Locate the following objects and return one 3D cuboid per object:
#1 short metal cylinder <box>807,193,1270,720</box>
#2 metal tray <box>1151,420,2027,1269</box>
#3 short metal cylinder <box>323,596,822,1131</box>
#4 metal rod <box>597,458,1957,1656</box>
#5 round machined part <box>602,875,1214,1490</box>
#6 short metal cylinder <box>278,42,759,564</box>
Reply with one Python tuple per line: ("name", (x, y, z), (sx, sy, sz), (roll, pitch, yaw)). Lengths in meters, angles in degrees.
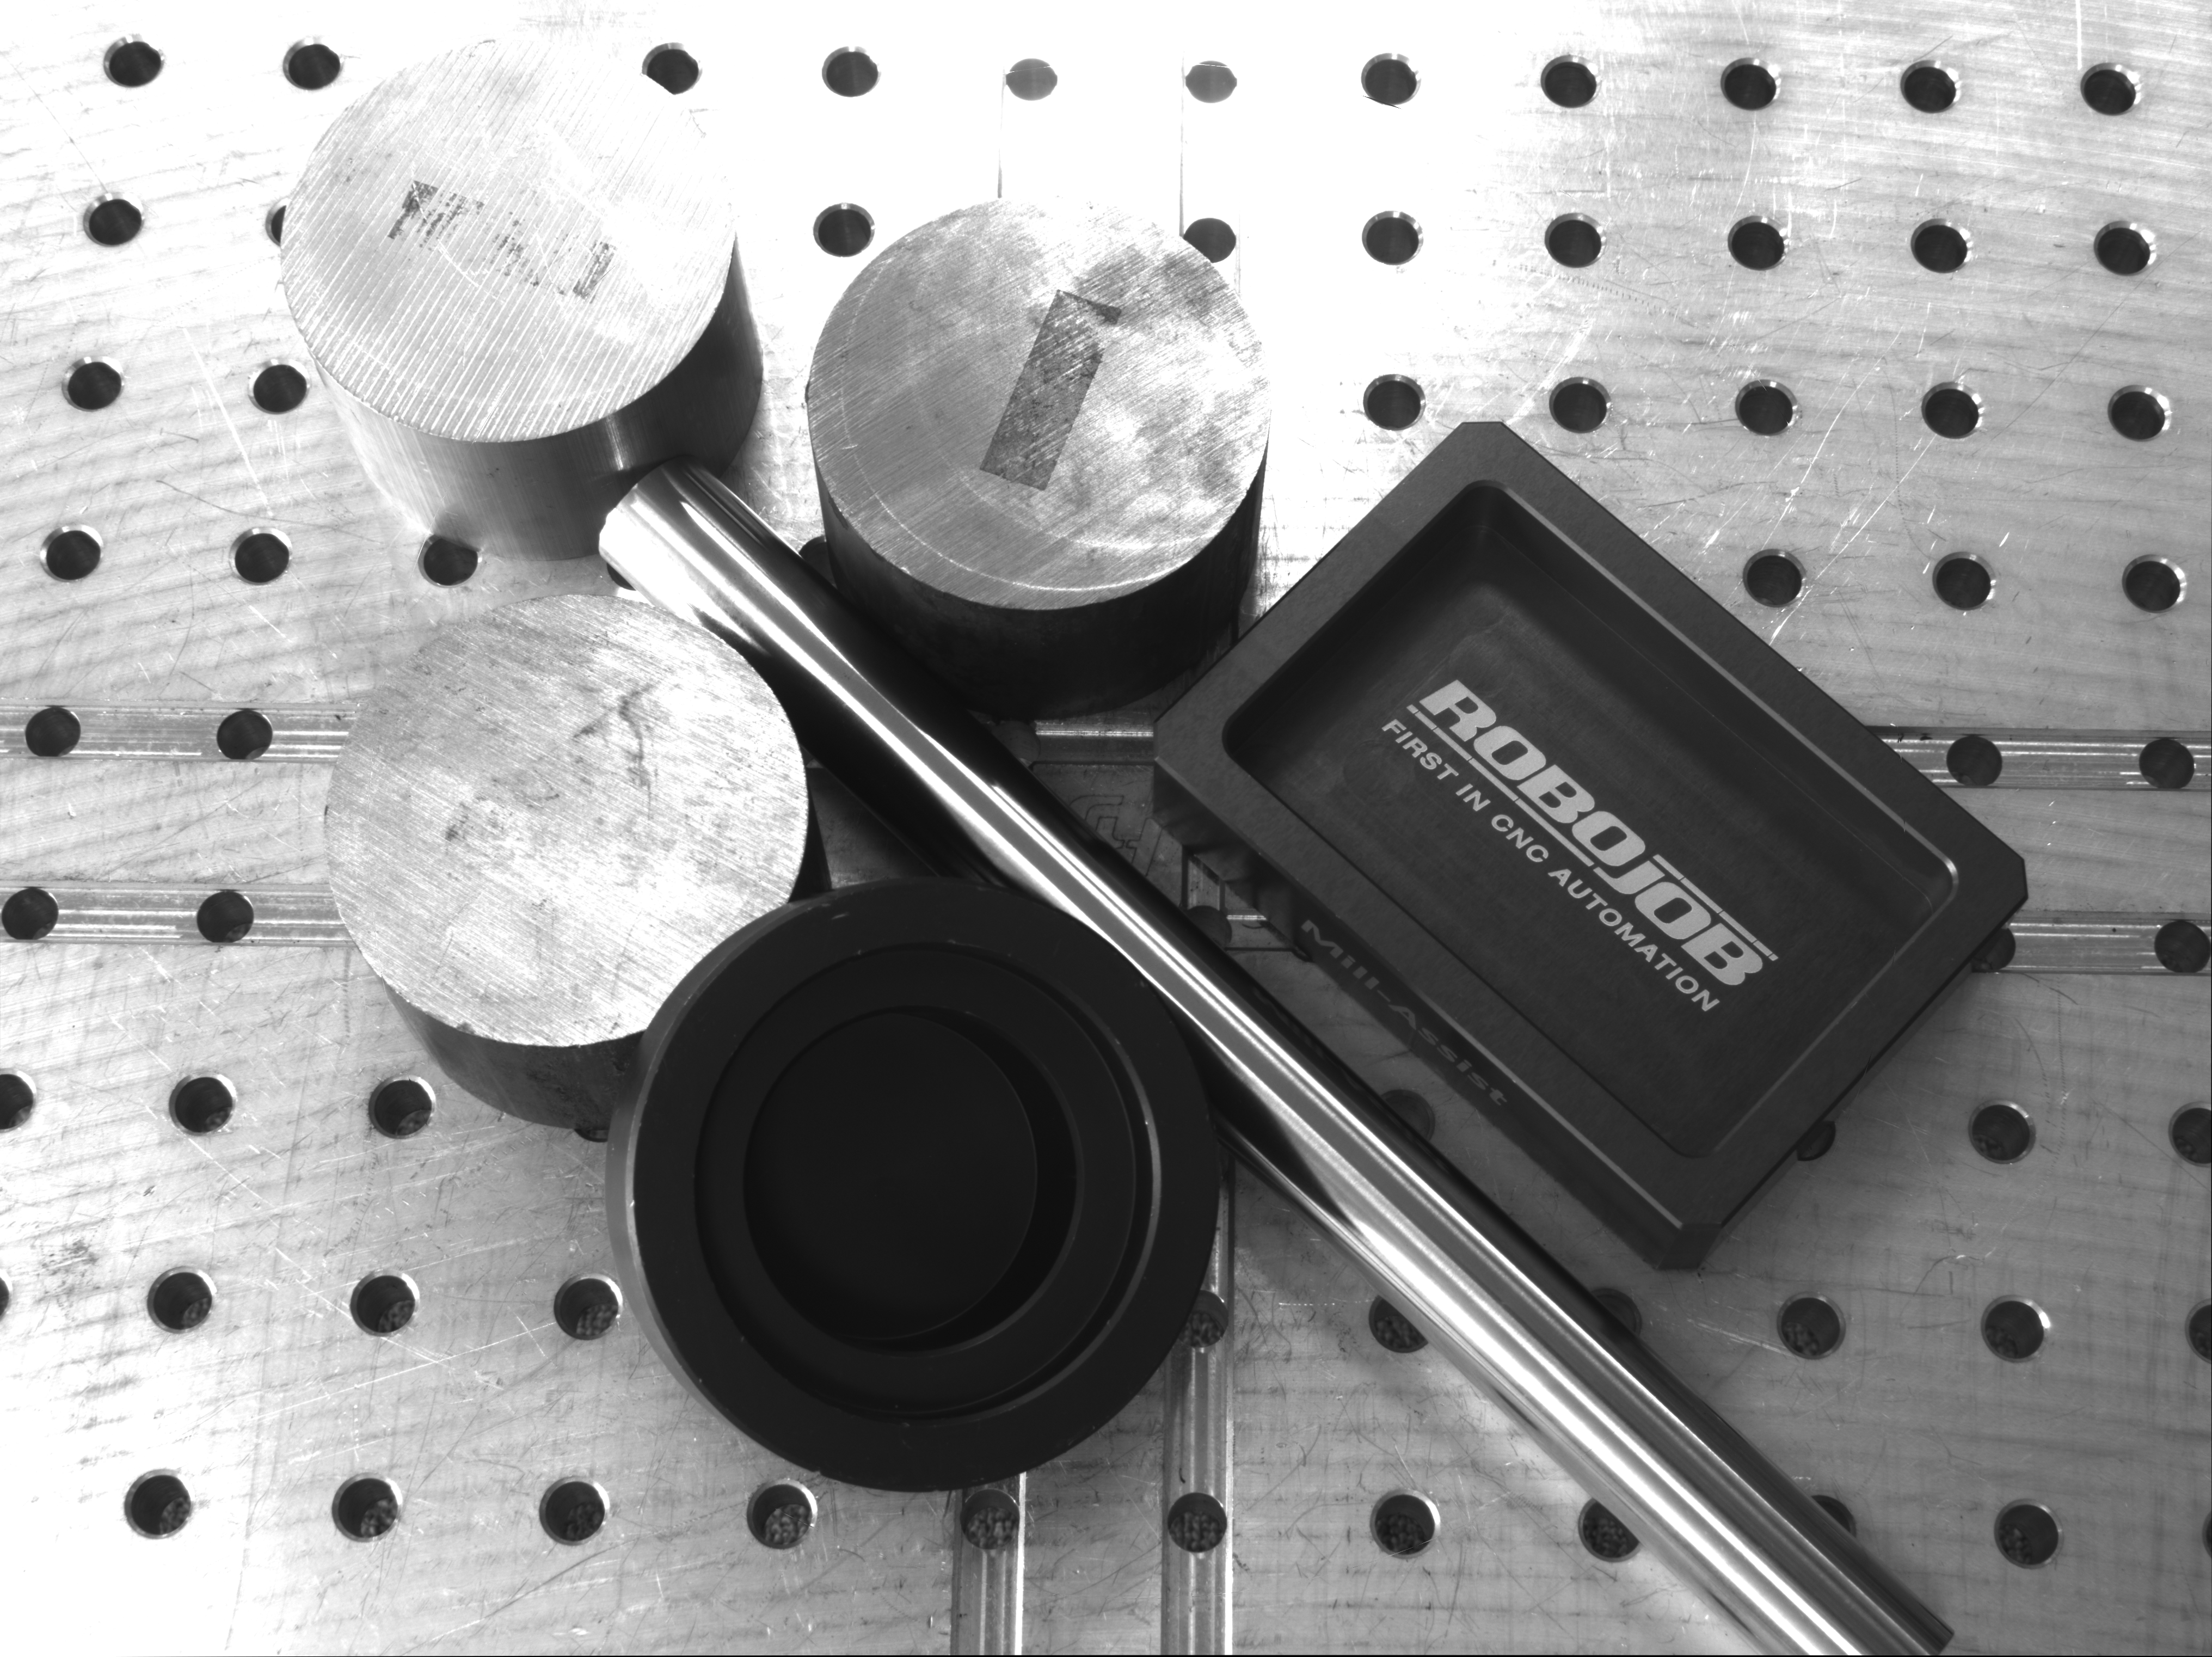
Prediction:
("short metal cylinder", (-0.012, -0.066, 0.657), (0.080, 0.050, 0.080), (0, 70, 0))
("metal tray", (0.082, 0.001, 0.643), (0.130, 0.030, 0.090), (42, 76, 14))
("short metal cylinder", (-0.089, 0.007, 0.631), (0.080, 0.050, 0.080), (0, 70, 0))
("metal rod", (0.023, 0.041, 0.633), (0.300, 0.025, 0.025), (43, 75, 14))
("round machined part", (-0.035, 0.058, 0.606), (0.098, 0.042, 0.098), (2, 85, -18))
("short metal cylinder", (-0.105, -0.095, 0.669), (0.080, 0.050, 0.080), (0, 70, 0))
